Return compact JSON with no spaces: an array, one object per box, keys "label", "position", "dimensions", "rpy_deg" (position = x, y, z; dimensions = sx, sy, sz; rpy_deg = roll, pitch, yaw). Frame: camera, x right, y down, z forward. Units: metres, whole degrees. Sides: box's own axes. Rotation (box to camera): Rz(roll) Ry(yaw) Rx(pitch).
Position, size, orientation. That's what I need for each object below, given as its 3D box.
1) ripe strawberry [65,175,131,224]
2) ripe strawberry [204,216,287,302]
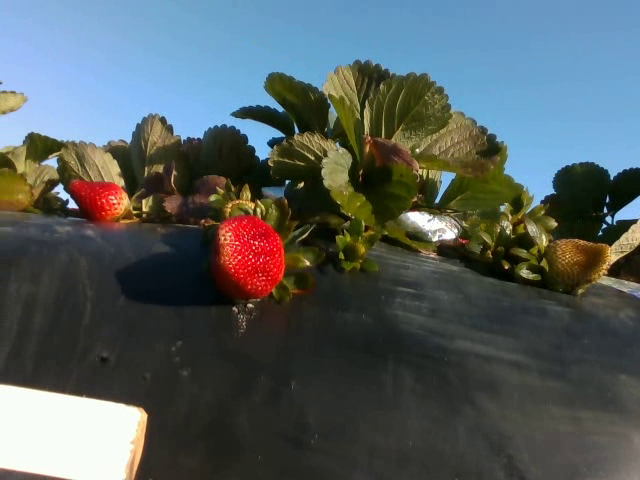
[{"label":"ripe strawberry","position":[-0.147,-0.028,0.394],"dimensions":[0.046,0.036,0.035],"rpy_deg":[20,16,-11]},{"label":"ripe strawberry","position":[-0.038,0.009,0.276],"dimensions":[0.042,0.042,0.058],"rpy_deg":[22,7,11]}]
